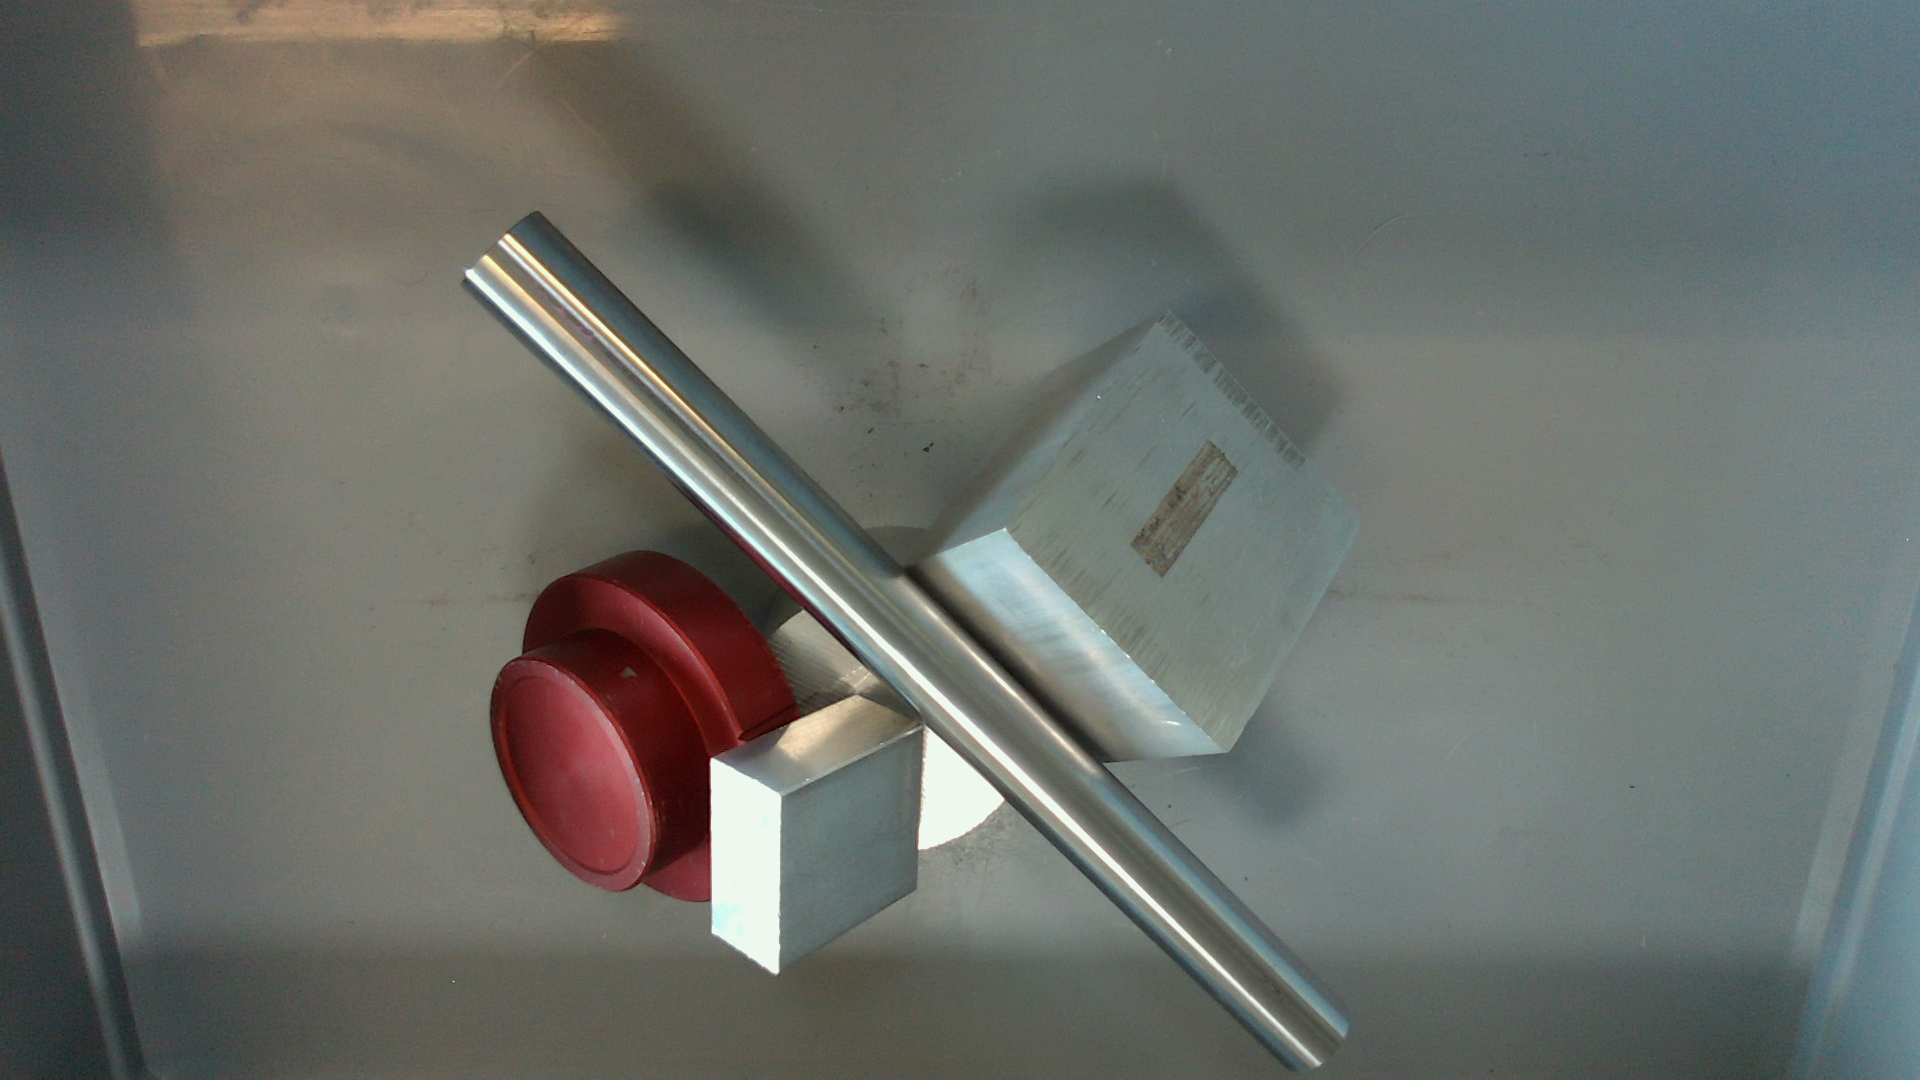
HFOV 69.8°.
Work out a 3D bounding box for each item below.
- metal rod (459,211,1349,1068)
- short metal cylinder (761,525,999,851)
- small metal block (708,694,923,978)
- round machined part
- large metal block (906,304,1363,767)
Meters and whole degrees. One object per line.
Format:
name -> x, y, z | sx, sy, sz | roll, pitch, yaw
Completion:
metal rod -> -0.003, 0.036, 0.353 | 0.025, 0.025, 0.300 | -41, 105, 14
short metal cylinder -> -0.020, 0.042, 0.394 | 0.080, 0.050, 0.080 | 0, 110, 0
small metal block -> -0.036, 0.074, 0.351 | 0.025, 0.050, 0.050 | 19, 116, 36
round machined part -> -0.090, 0.056, 0.376 | 0.098, 0.042, 0.098 | 18, 120, 34
large metal block -> 0.046, 0.001, 0.357 | 0.080, 0.050, 0.080 | 44, 61, -15
